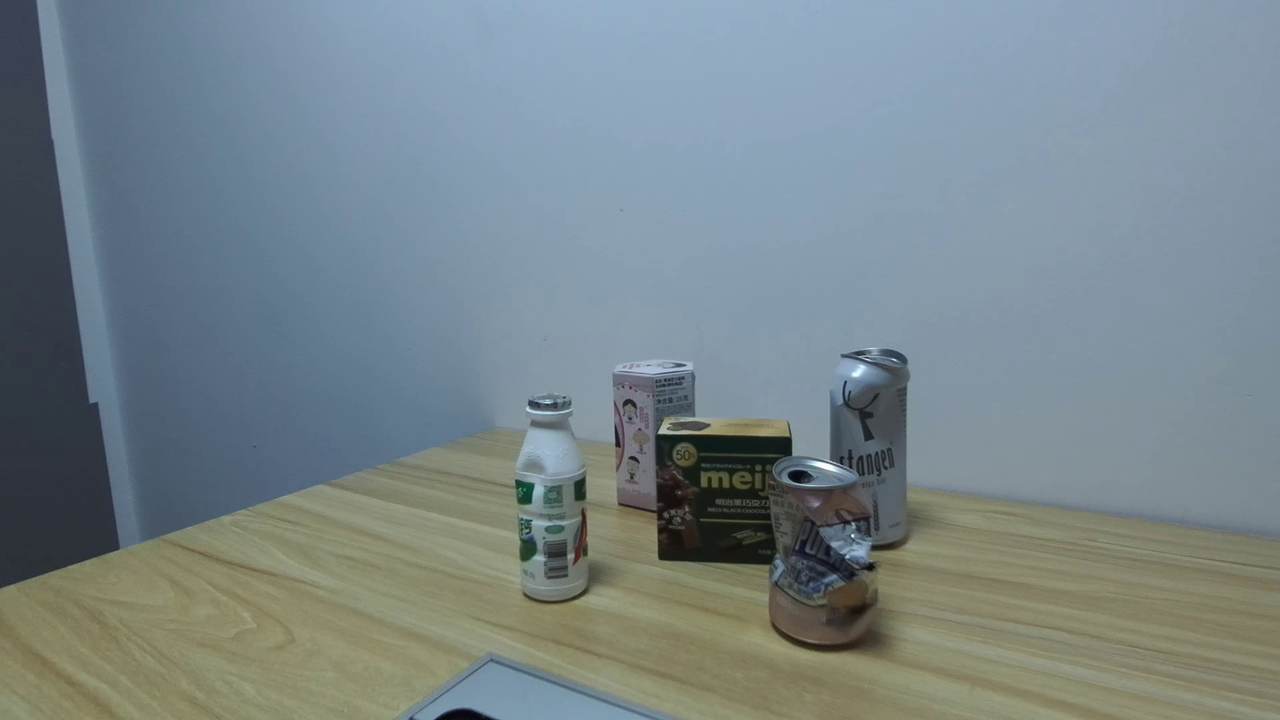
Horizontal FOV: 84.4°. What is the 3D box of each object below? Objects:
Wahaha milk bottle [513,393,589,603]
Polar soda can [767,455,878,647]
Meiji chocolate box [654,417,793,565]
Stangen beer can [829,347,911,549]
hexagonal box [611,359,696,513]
[{"bbox_3d":[-0.065,0.105,0.520,0.053,0.136,0.053,0,9,0],"label":"Wahaha milk bottle"},{"bbox_3d":[0.116,0.123,0.454,0.074,0.114,0.070,-1,15,22],"label":"Polar soda can"},{"bbox_3d":[0.070,0.106,0.580,0.110,0.109,0.056,0,10,8],"label":"Meiji chocolate box"},{"bbox_3d":[0.194,0.074,0.598,0.065,0.162,0.077,0,11,15],"label":"Stangen beer can"},{"bbox_3d":[0.015,0.073,0.706,0.084,0.136,0.091,-1,9,3],"label":"hexagonal box"}]
